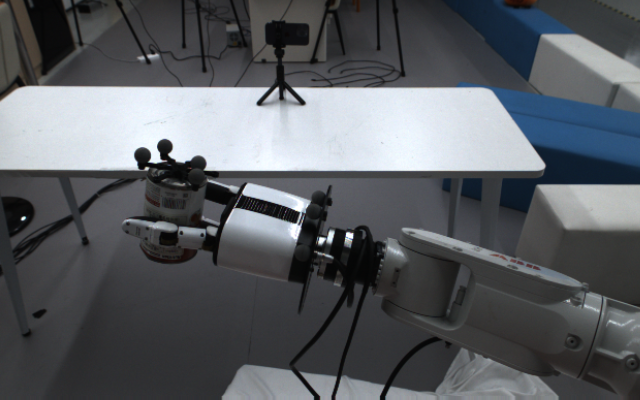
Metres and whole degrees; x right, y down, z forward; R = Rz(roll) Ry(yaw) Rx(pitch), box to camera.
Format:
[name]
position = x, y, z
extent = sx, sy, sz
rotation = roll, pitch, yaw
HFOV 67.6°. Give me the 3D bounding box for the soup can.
[soup can]
position = -0.170, 0.016, 0.568
extent = 0.067, 0.101, 0.067
rotation = 12, 24, -6
